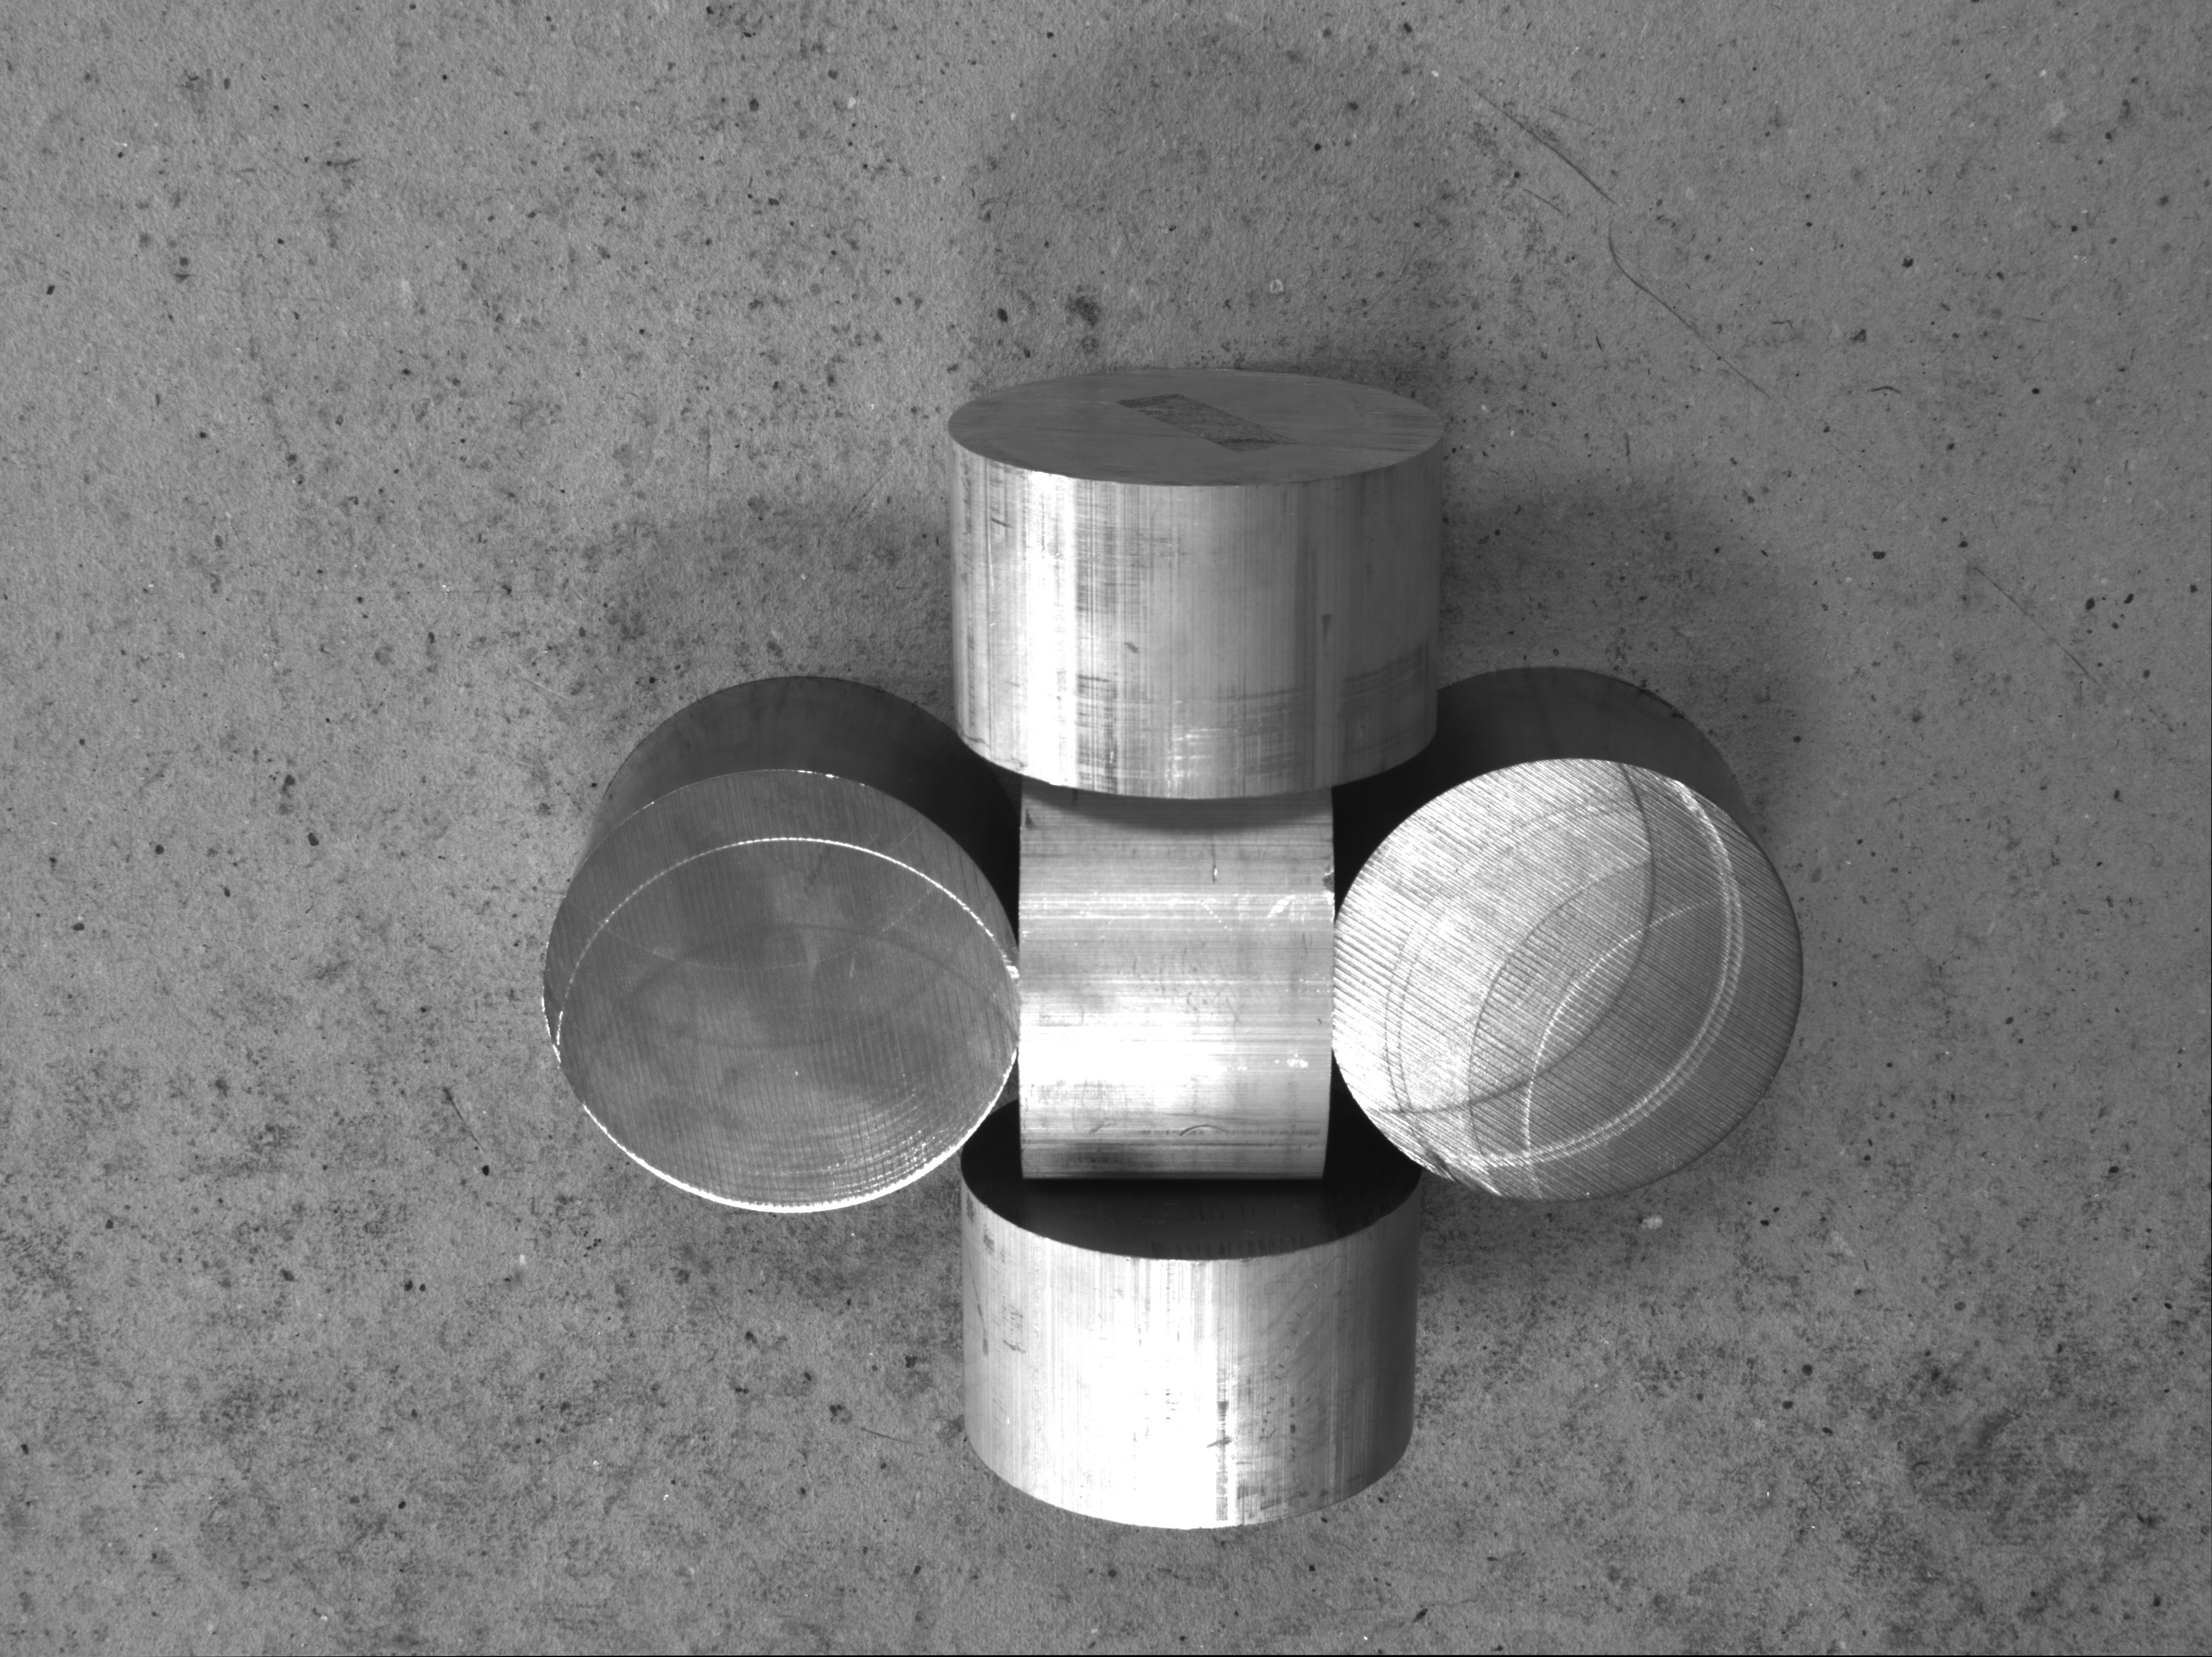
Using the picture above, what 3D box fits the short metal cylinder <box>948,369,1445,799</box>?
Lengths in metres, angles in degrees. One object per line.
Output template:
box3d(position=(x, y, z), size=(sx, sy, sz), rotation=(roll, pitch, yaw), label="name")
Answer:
box3d(position=(0.015, -0.042, 0.600), size=(0.080, 0.080, 0.050), rotation=(0, 110, 0), label="short metal cylinder")

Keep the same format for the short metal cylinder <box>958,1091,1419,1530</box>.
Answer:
box3d(position=(0.014, 0.081, 0.644), size=(0.080, 0.080, 0.050), rotation=(0, 109, 0), label="short metal cylinder")

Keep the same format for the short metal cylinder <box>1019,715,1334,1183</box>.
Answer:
box3d(position=(0.011, 0.020, 0.622), size=(0.050, 0.080, 0.080), rotation=(0, 110, 0), label="short metal cylinder")

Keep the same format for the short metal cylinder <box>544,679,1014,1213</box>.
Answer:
box3d(position=(-0.054, 0.020, 0.637), size=(0.080, 0.050, 0.080), rotation=(0, 110, -1), label="short metal cylinder")

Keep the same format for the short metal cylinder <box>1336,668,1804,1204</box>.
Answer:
box3d(position=(0.077, 0.018, 0.637), size=(0.080, 0.050, 0.080), rotation=(0, 110, 0), label="short metal cylinder")
